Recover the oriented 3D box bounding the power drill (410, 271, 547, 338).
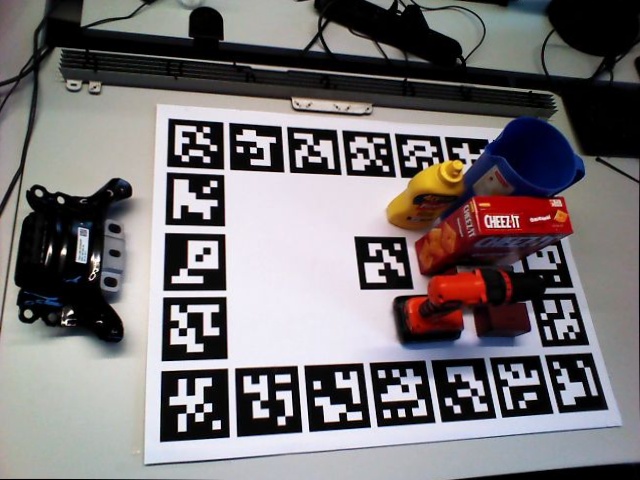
[{"bbox_3d":[0.233,0.100,0.793,0.184,0.188,0.057,1,66,-14],"label":"power drill"}]

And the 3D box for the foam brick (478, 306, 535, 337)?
[{"bbox_3d":[0.326,0.142,0.911,0.078,0.051,0.052,4,70,-12],"label":"foam brick"}]

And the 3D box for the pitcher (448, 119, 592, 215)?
[{"bbox_3d":[0.332,-0.091,0.902,0.189,0.244,0.132,7,68,-9],"label":"pitcher"}]

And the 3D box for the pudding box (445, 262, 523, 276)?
[{"bbox_3d":[0.274,0.069,0.891,0.114,0.090,0.038,2,67,-10],"label":"pudding box"}]

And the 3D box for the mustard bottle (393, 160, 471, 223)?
[{"bbox_3d":[0.200,-0.090,0.882,0.096,0.192,0.058,14,68,-8],"label":"mustard bottle"}]

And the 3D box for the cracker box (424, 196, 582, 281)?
[{"bbox_3d":[0.291,0.005,0.860,0.164,0.215,0.071,-1,68,-12],"label":"cracker box"}]
